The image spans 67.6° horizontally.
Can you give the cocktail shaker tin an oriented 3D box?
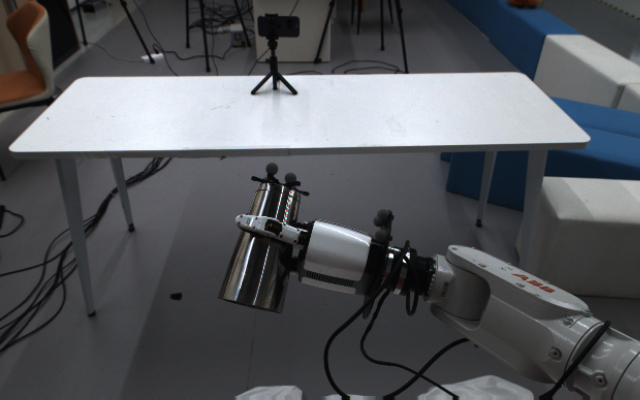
[{"bbox_3d":[-0.080,0.068,0.689,0.093,0.093,0.170,11,74,12],"label":"cocktail shaker tin"}]
